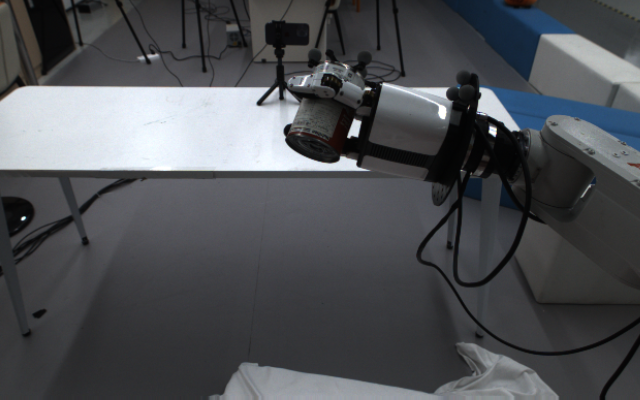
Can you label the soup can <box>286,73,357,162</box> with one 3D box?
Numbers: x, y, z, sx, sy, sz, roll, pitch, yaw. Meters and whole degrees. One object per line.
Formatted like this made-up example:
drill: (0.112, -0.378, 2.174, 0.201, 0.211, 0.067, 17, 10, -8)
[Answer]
soup can: (0.009, -0.104, 0.580, 0.067, 0.067, 0.101, 15, 75, 18)
